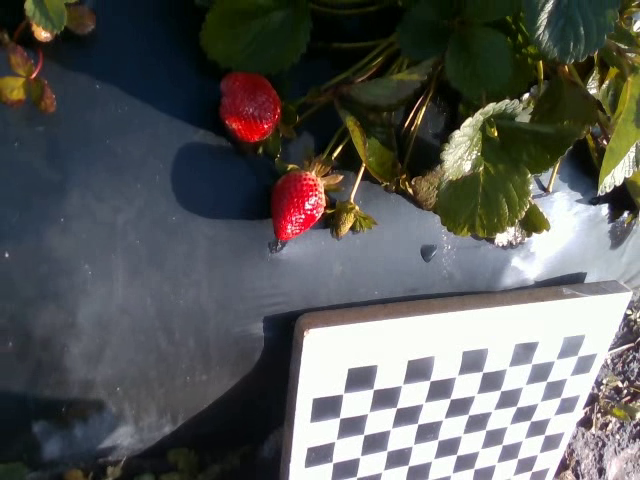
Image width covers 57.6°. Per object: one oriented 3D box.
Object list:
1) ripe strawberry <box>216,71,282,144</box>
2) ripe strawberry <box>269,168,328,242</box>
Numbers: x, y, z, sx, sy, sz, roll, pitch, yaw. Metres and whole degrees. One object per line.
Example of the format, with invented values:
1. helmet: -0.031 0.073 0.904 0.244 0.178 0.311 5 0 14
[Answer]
1. ripe strawberry: -0.046 -0.084 0.369 0.054 0.048 0.039 2 27 -49
2. ripe strawberry: -0.015 -0.021 0.373 0.038 0.053 0.043 -8 -42 43
